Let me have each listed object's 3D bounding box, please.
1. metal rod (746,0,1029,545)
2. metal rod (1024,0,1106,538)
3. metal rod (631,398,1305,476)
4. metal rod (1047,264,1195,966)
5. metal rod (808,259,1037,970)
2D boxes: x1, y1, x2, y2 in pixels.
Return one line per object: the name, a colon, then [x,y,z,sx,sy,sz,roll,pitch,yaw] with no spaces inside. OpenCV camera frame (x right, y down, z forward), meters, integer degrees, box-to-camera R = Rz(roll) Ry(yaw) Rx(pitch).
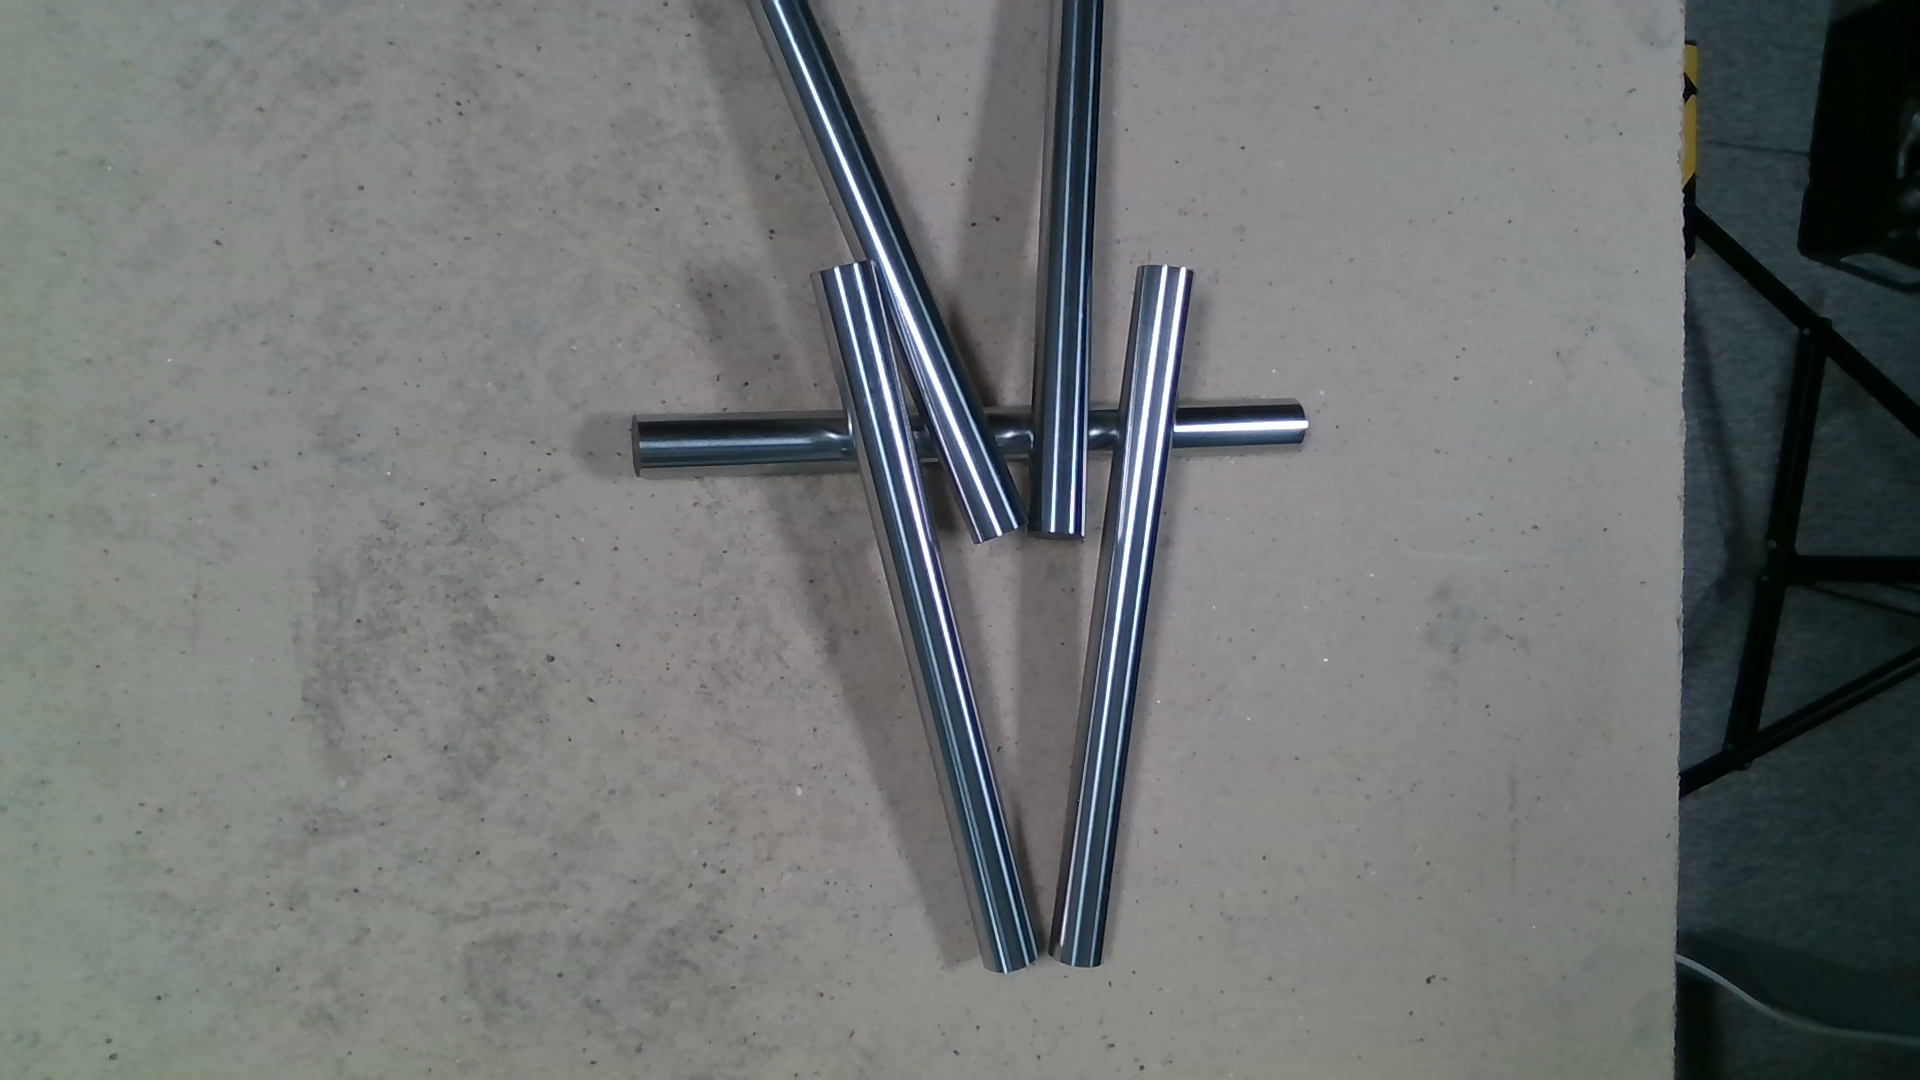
metal rod: [-0.041,-0.141,0.555,0.025,0.025,0.300,-24,93,-19]
metal rod: [0.046,-0.150,0.587,0.025,0.025,0.300,5,83,-20]
metal rod: [0.013,-0.046,0.591,0.300,0.025,0.025,-3,91,-20]
metal rod: [0.069,0.034,0.594,0.025,0.025,0.300,5,95,-20]
metal rod: [-0.013,0.037,0.565,0.025,0.025,0.300,-18,103,-19]
